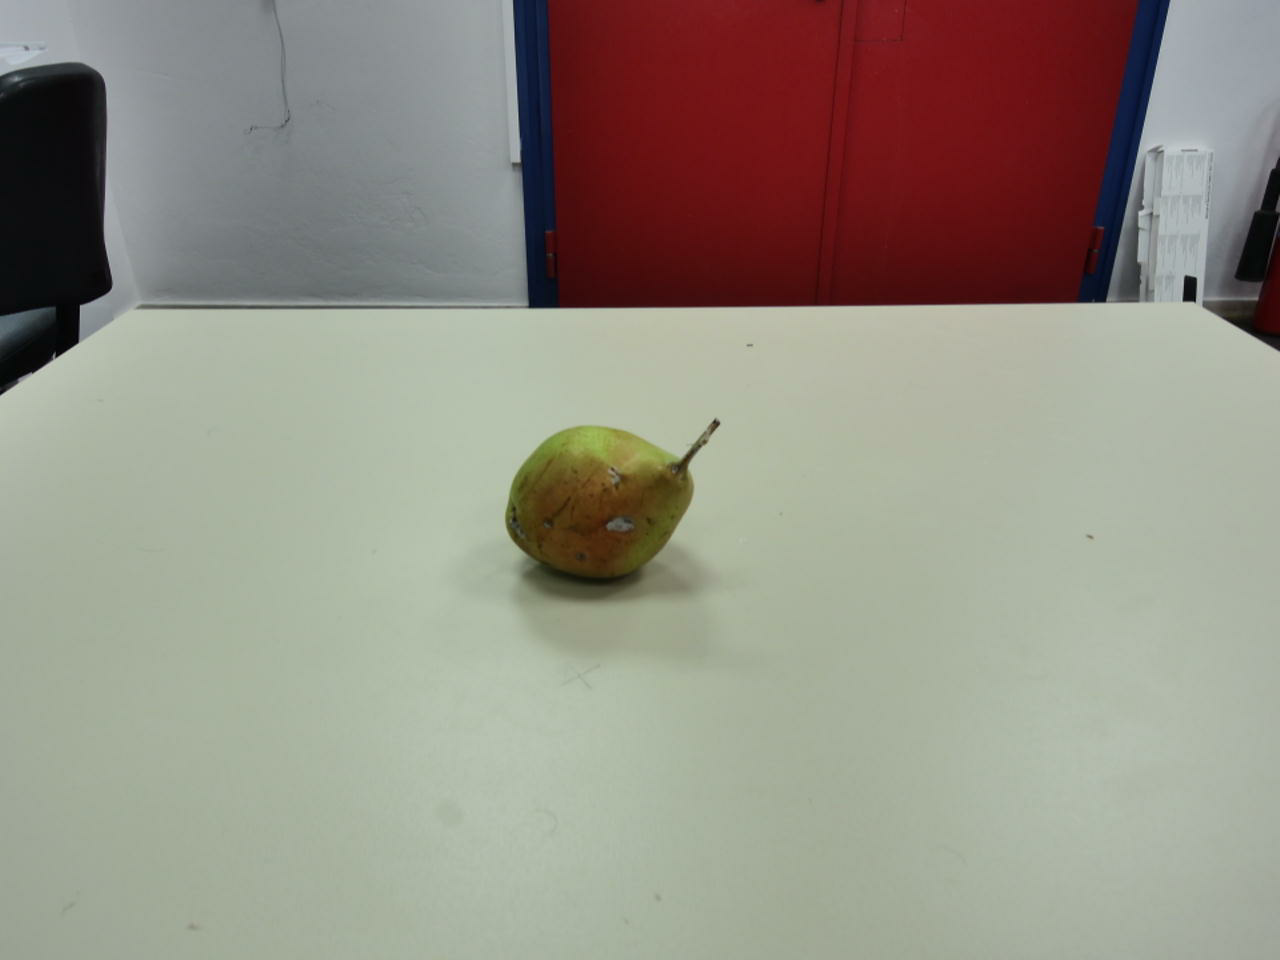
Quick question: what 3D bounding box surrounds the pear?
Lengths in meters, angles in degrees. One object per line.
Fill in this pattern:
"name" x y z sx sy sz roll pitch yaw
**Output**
"pear" -0.016 0.006 0.408 0.068 0.069 0.070 -19 30 -35
